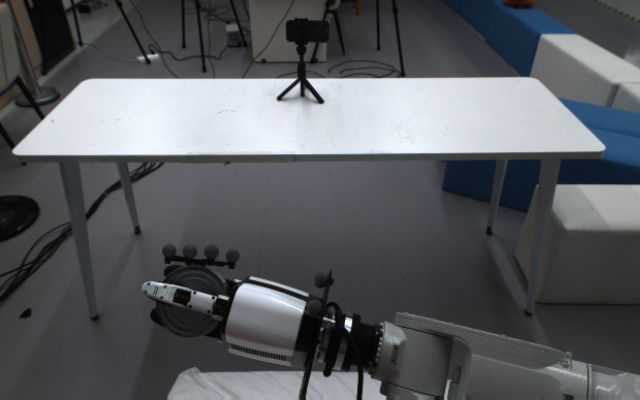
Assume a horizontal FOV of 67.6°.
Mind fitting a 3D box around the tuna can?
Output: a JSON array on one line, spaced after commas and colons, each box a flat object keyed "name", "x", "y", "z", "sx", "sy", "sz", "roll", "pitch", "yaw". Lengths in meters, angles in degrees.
[{"name": "tuna can", "x": -0.152, "y": 0.125, "z": 0.595, "sx": 0.085, "sy": 0.034, "sz": 0.085, "roll": 0, "pitch": 78, "yaw": -1}]
